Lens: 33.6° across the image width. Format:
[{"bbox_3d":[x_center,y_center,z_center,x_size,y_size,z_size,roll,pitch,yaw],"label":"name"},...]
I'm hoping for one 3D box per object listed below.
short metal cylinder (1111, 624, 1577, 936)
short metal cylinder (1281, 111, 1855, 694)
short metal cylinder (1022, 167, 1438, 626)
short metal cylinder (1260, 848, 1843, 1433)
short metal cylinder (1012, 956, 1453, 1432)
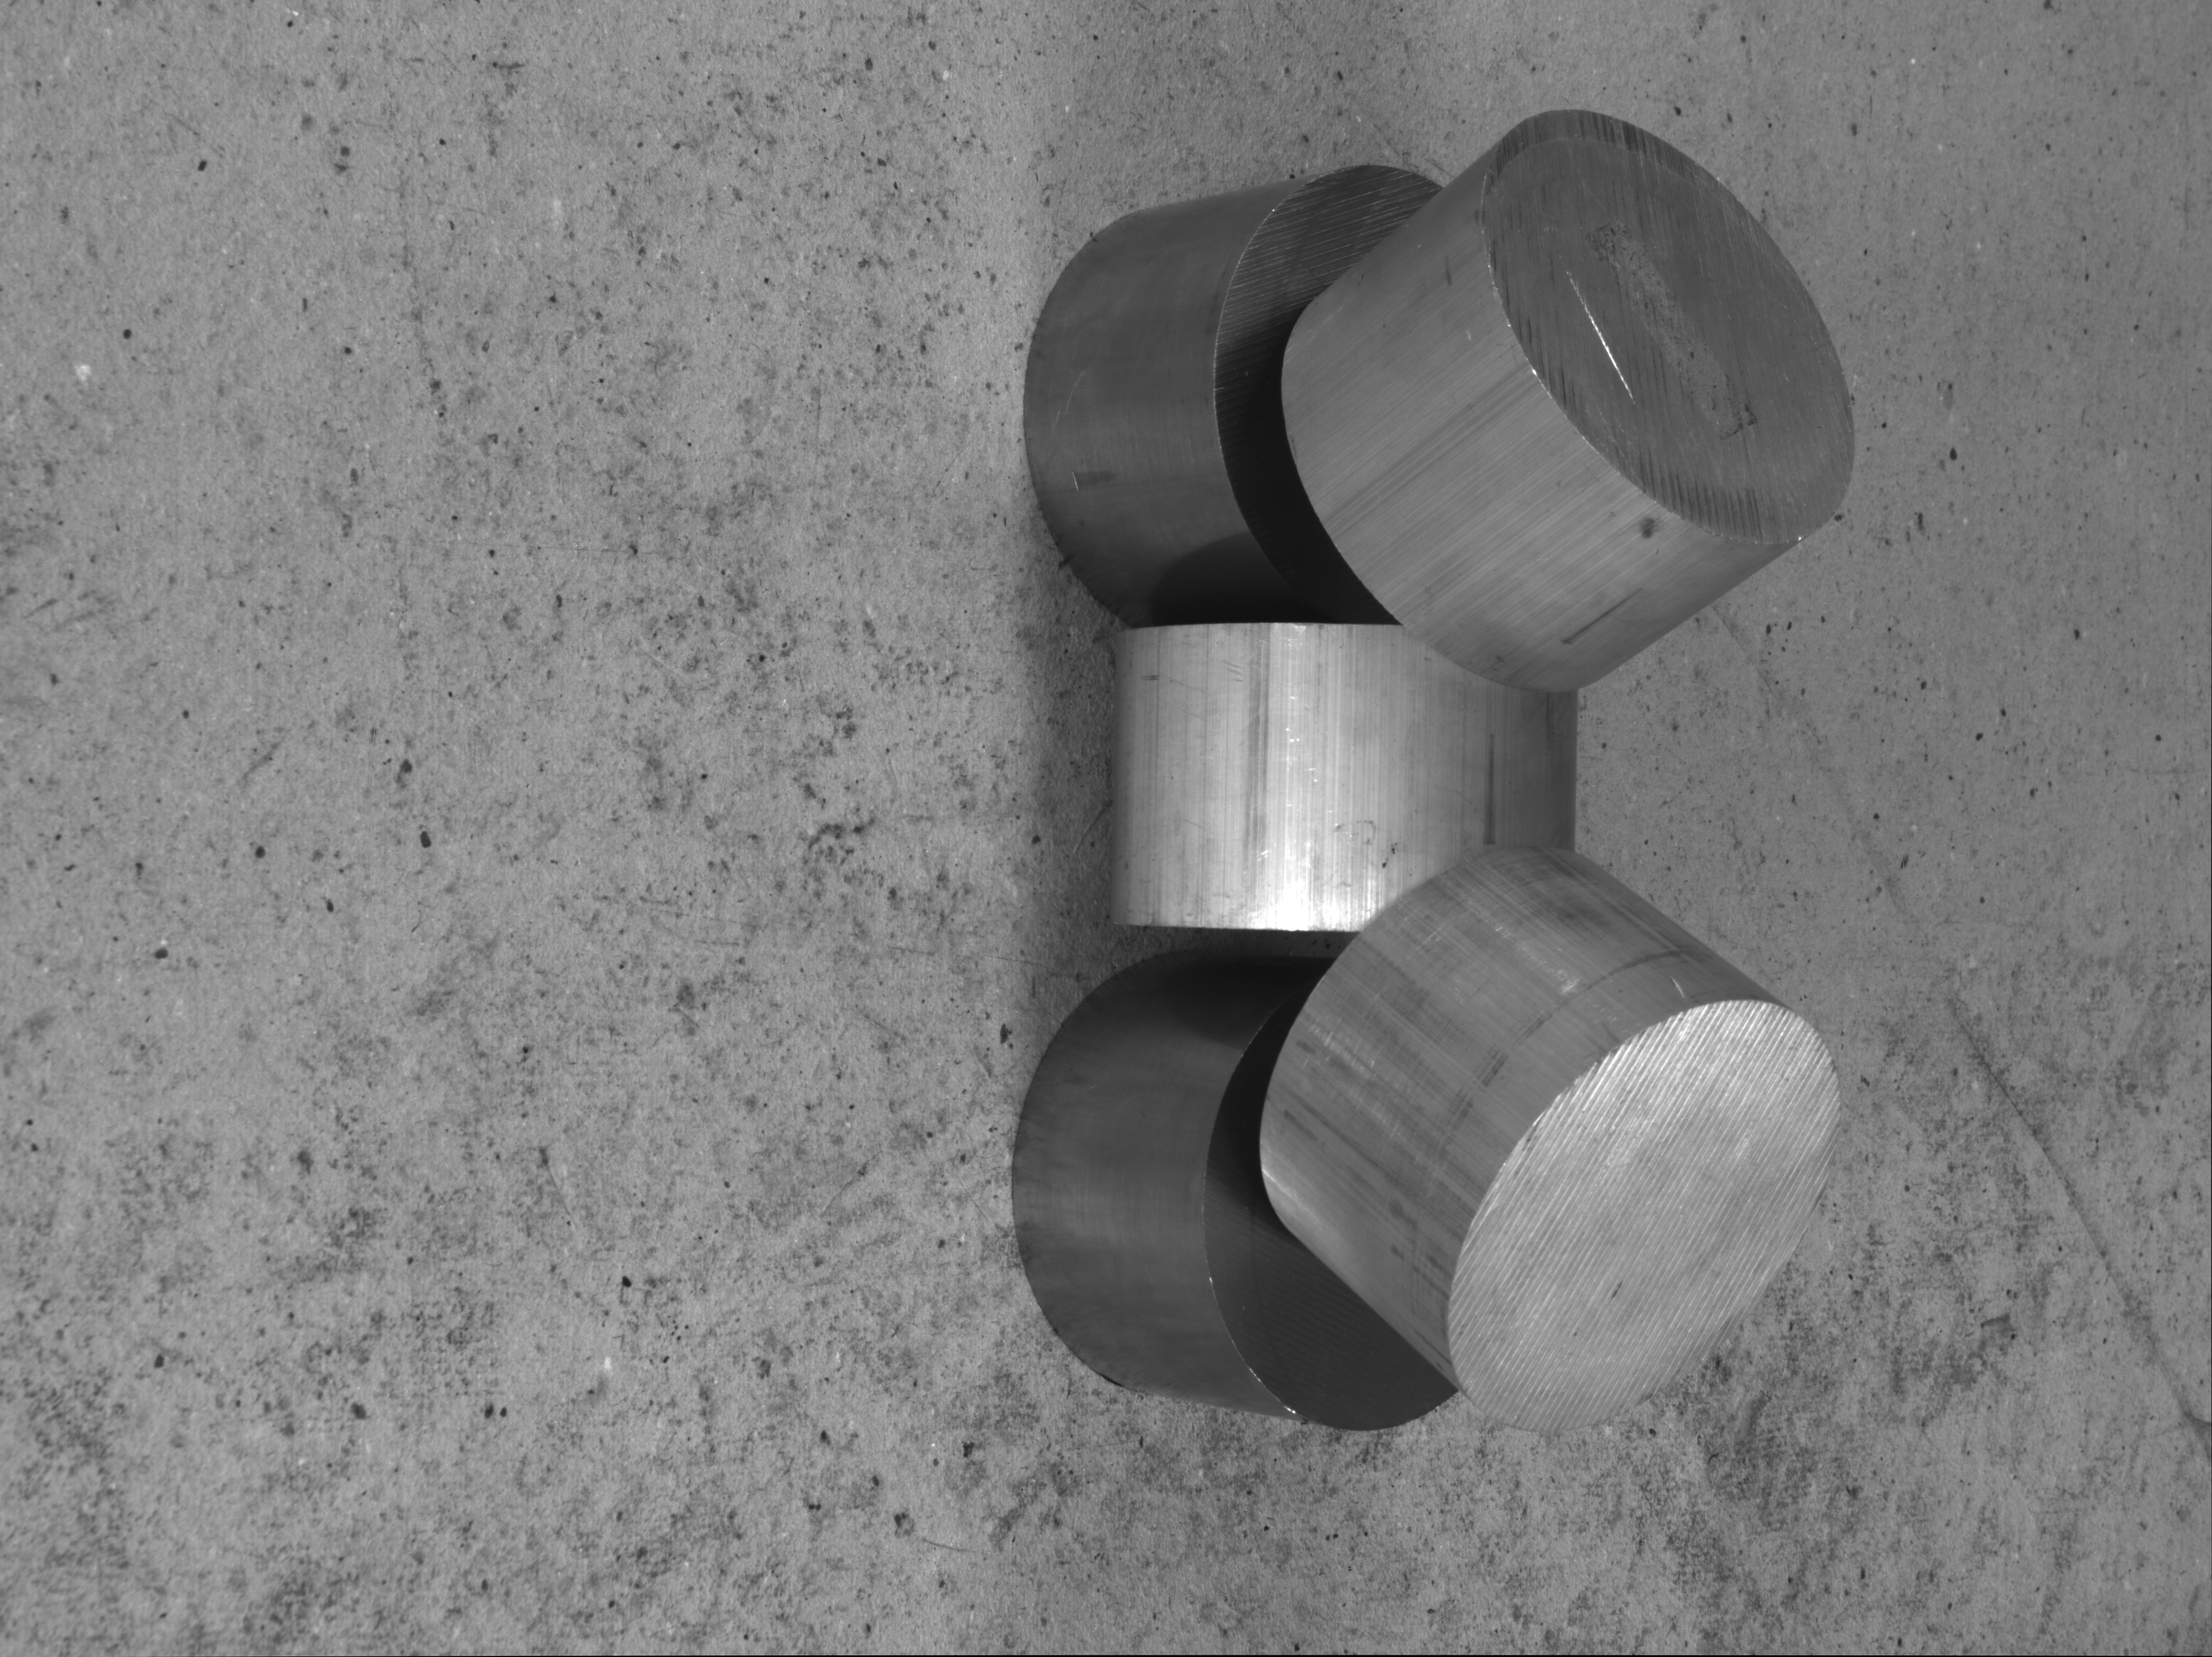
[{"bbox_3d":[0.041,-0.007,0.635,0.080,0.080,0.050,2,89,-40],"label":"short metal cylinder"},{"bbox_3d":[0.075,-0.069,0.599,0.080,0.050,0.080,21,52,-30],"label":"short metal cylinder"},{"bbox_3d":[0.032,-0.073,0.647,0.080,0.050,0.080,0,90,-40],"label":"short metal cylinder"},{"bbox_3d":[0.072,0.050,0.594,0.080,0.050,0.080,-20,129,-27],"label":"short metal cylinder"},{"bbox_3d":[0.030,0.063,0.645,0.080,0.050,0.080,0,90,-40],"label":"short metal cylinder"}]
